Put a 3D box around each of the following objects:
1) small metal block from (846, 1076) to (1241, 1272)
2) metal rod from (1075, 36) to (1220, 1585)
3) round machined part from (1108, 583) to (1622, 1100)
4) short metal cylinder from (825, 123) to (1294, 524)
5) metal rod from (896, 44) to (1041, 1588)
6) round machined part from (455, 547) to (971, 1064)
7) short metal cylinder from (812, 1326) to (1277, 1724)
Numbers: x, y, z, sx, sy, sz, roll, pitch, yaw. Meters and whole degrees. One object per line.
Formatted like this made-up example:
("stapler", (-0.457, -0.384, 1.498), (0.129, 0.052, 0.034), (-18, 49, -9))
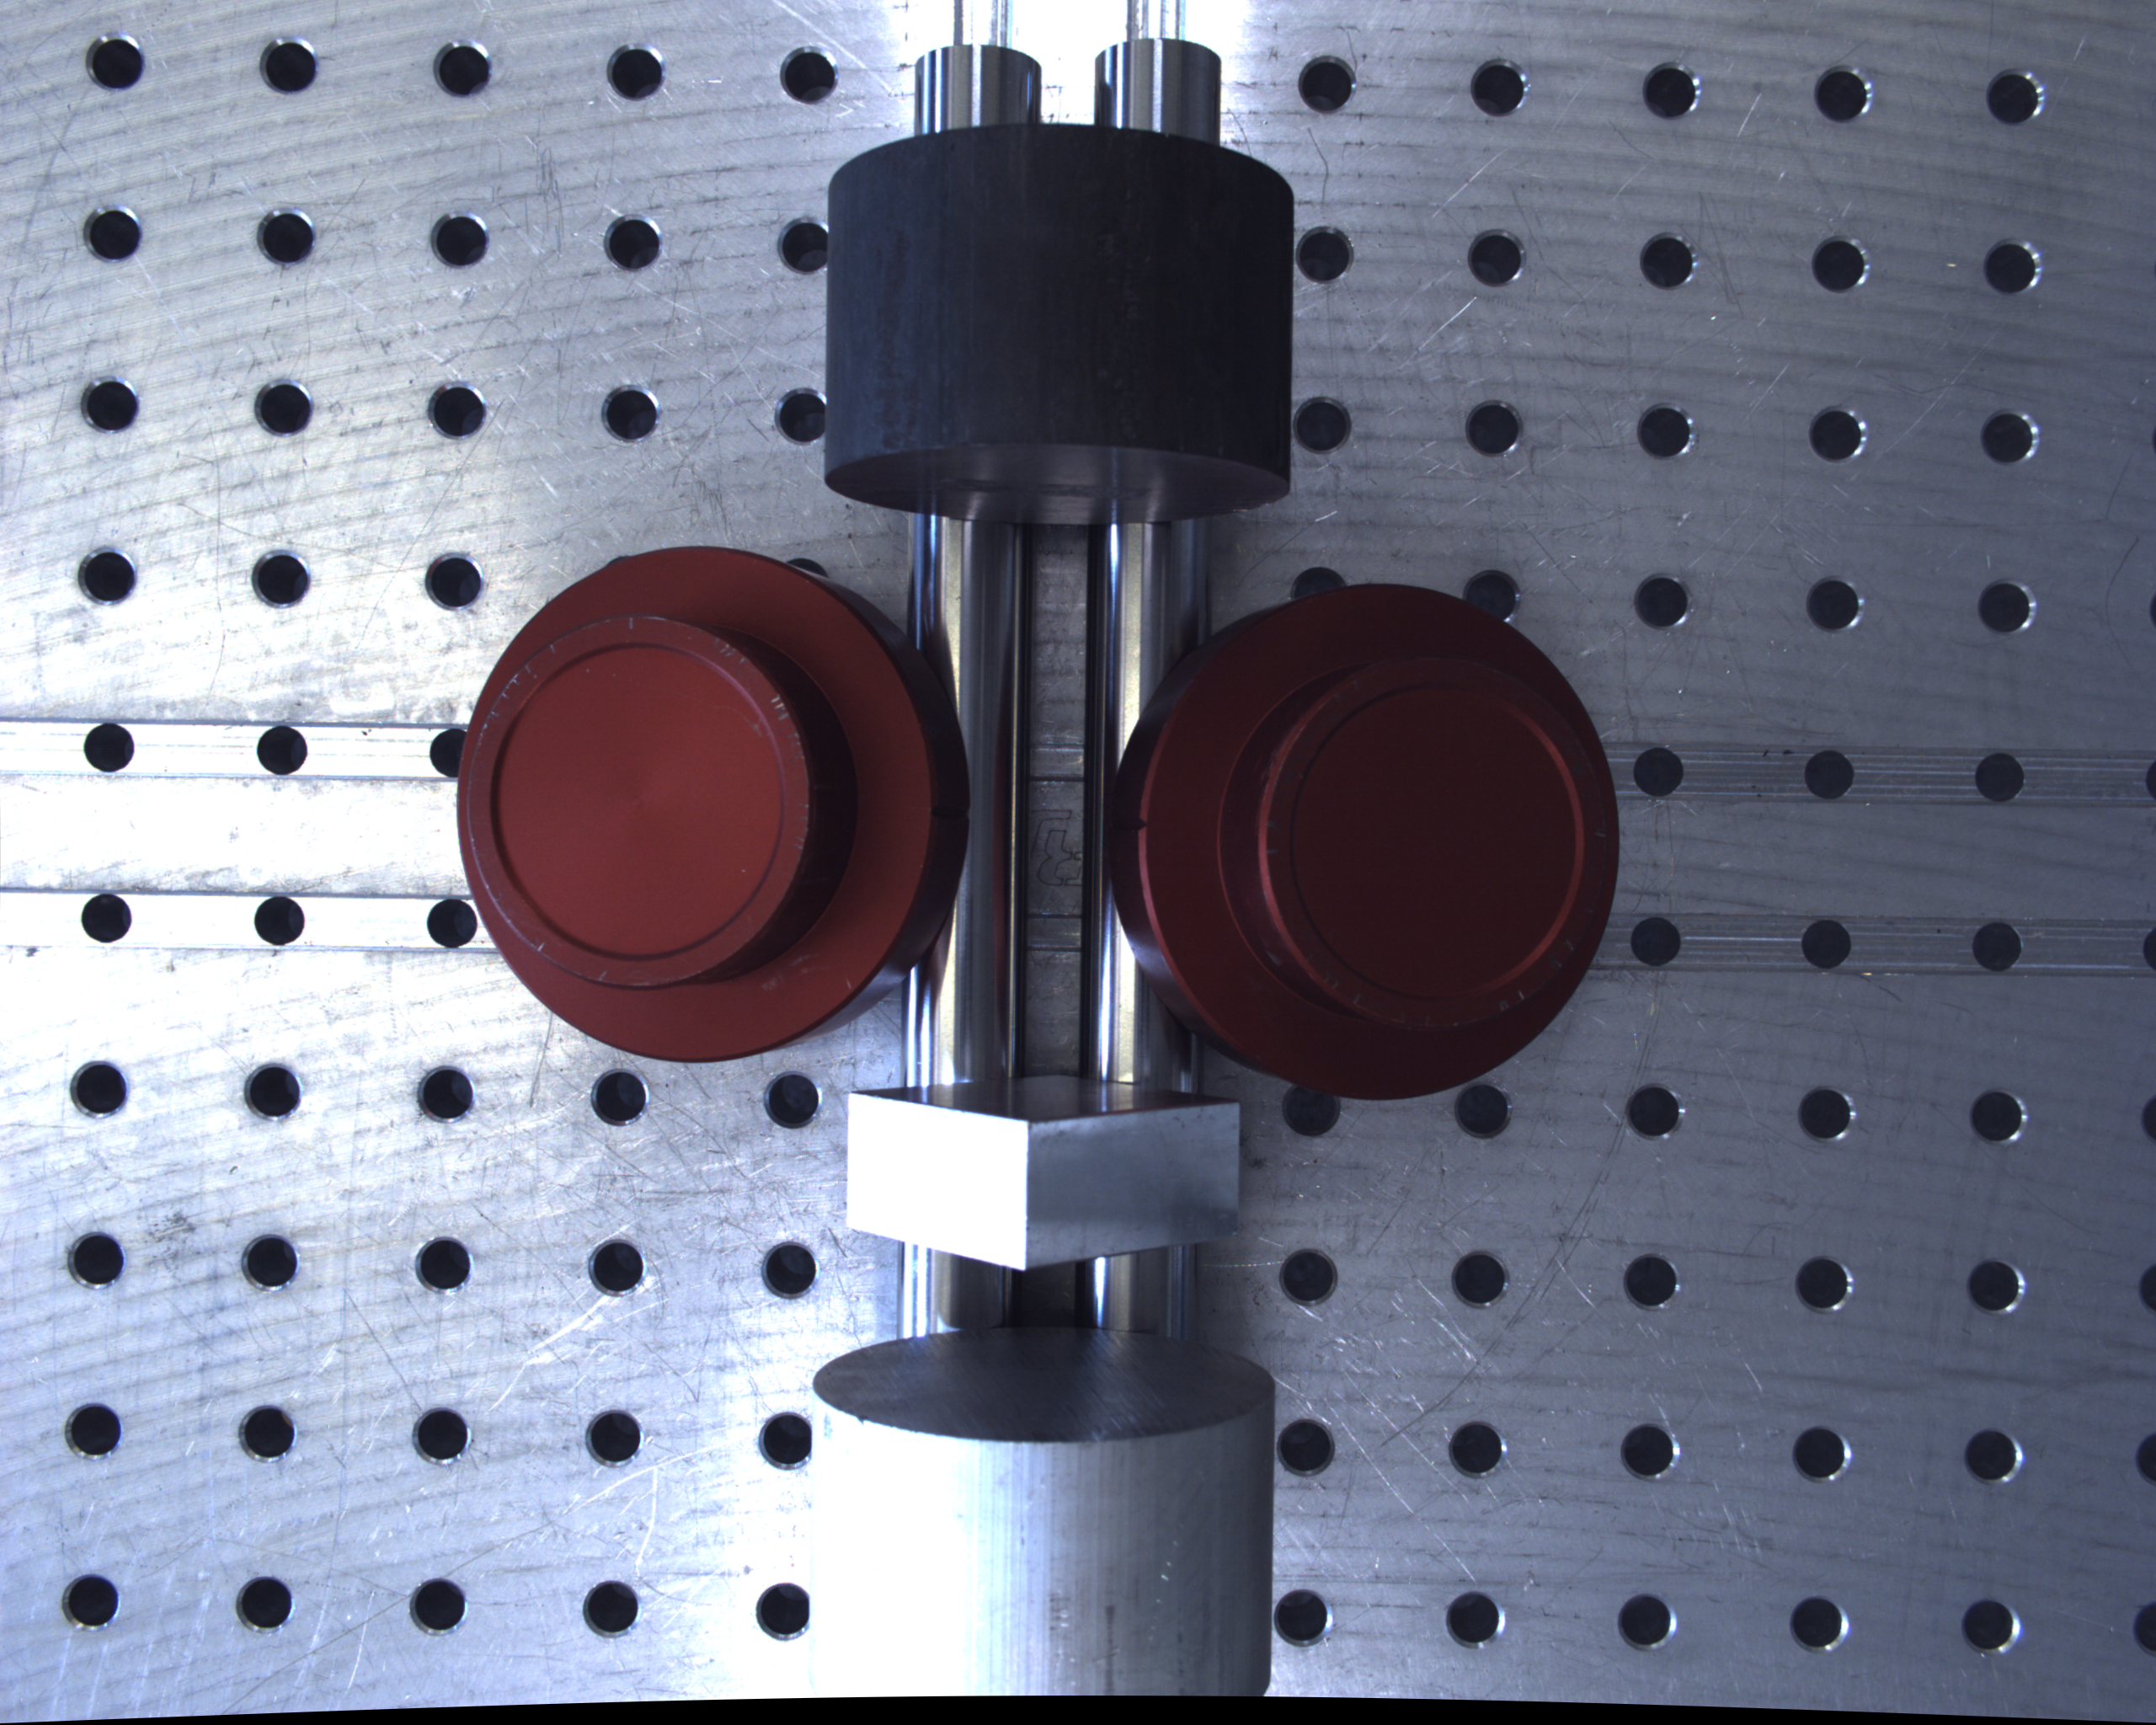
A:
("small metal block", (-0.006, 0.055, 0.377), (0.050, 0.050, 0.025), (1, 90, -42))
("metal rod", (0.013, -0.009, 0.412), (0.025, 0.025, 0.298), (1, 90, 0))
("round machined part", (0.059, -0.004, 0.392), (0.099, 0.042, 0.097), (0, 90, -15))
("short metal cylinder", (-0.003, -0.090, 0.363), (0.081, 0.080, 0.050), (1, 90, 0))
("metal rod", (-0.022, -0.008, 0.412), (0.025, 0.025, 0.298), (1, 90, 0))
("round machined part", (-0.073, -0.011, 0.392), (0.098, 0.042, 0.097), (0, 90, 14))
("short metal cylinder", (-0.006, 0.115, 0.364), (0.081, 0.080, 0.050), (1, 90, 0))
